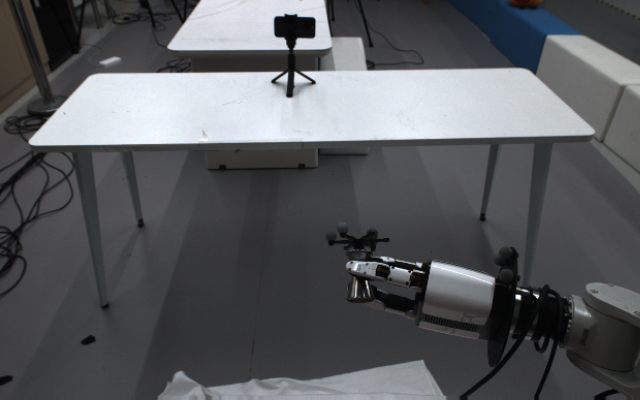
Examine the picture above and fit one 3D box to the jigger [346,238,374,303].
[{"bbox_3d":[0.056,0.105,0.679,0.043,0.043,0.071,1,70,-2],"label":"jigger"}]
